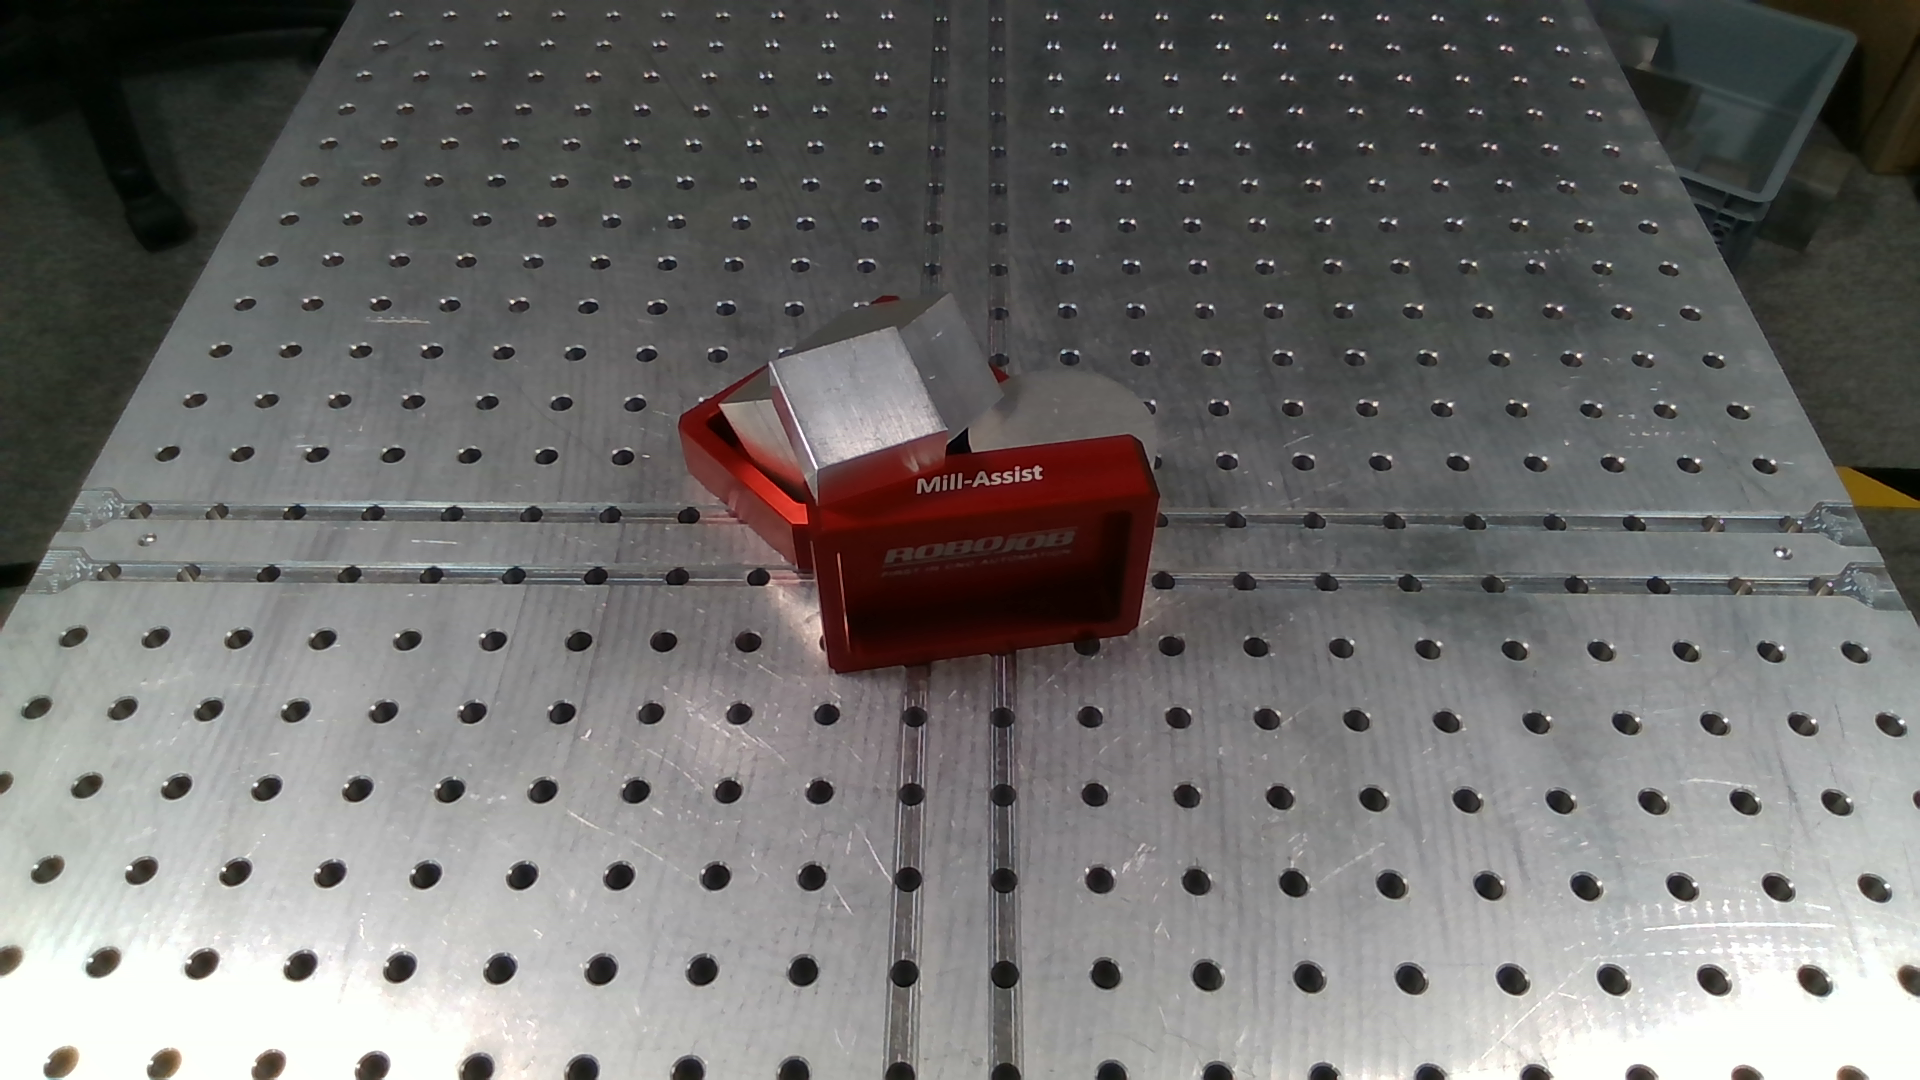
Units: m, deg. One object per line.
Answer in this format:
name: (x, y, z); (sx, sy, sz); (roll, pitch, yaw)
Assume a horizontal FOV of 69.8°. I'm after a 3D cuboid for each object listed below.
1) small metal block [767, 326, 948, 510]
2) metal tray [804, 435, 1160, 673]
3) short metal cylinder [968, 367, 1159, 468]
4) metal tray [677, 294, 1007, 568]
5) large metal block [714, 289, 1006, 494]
small metal block: (-0.038, -0.045, 0.505); (0.050, 0.025, 0.050); (-19, 64, -14)
metal tray: (0.008, 0.007, 0.542); (0.130, 0.090, 0.030); (-7, 50, -6)
short metal cylinder: (0.043, -0.029, 0.598); (0.080, 0.050, 0.080); (0, 50, 0)
metal tray: (-0.051, -0.053, 0.630); (0.130, 0.030, 0.090); (-36, 59, -26)
large metal block: (-0.043, -0.059, 0.583); (0.080, 0.050, 0.080); (-43, 26, -29)
